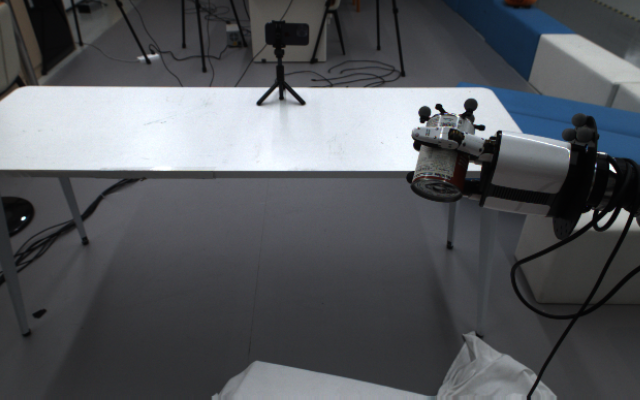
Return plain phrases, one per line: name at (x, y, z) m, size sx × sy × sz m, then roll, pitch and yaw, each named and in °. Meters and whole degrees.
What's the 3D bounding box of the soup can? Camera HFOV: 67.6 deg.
soup can at (0.166, -0.059, 0.652) m, size 0.067 × 0.067 × 0.101 m, roll 12°, pitch 71°, yaw 14°
